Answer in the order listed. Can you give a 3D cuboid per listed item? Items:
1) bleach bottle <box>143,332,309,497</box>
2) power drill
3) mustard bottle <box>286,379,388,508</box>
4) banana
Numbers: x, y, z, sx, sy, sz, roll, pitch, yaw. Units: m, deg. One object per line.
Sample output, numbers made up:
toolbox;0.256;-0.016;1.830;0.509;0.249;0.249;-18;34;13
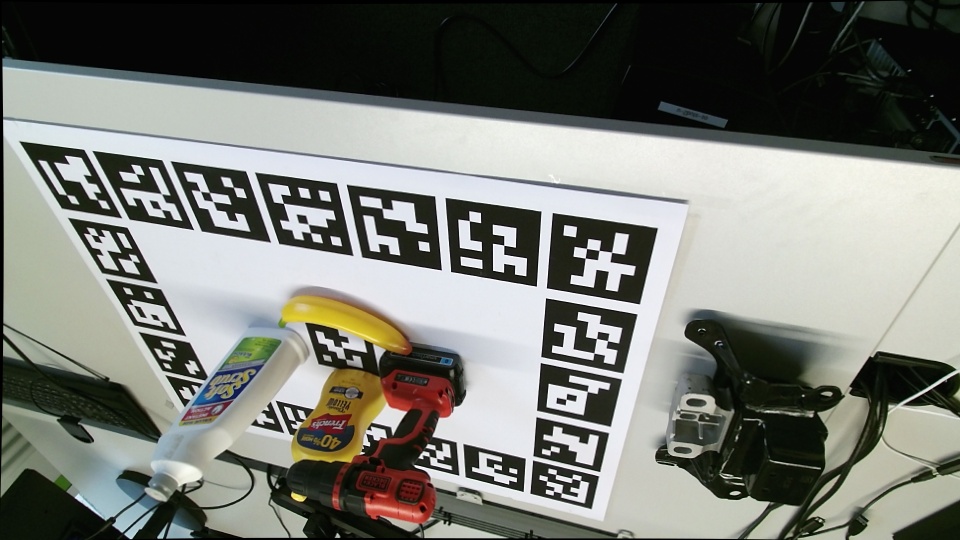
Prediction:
bleach bottle;-0.343;0.189;0.727;0.103;0.250;0.068;1;125;18
power drill;-0.119;0.218;0.674;0.185;0.186;0.057;7;135;17
mustard bottle;-0.210;0.241;0.748;0.096;0.191;0.058;9;129;14
banana;-0.199;0.083;0.719;0.198;0.039;0.074;10;124;10
